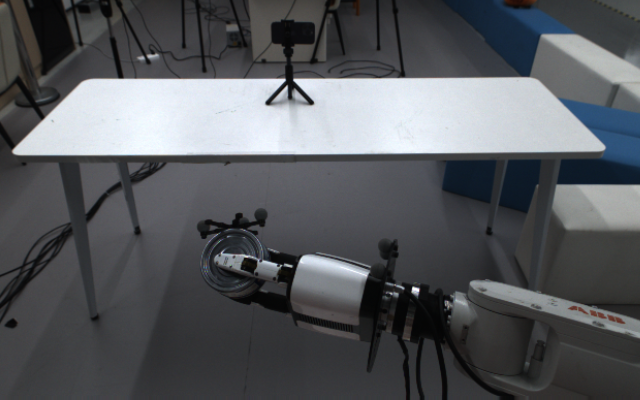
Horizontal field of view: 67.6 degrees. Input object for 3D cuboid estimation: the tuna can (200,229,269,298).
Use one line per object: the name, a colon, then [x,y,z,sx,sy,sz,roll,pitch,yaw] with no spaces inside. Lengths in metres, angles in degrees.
tuna can: [-0.104,0.086,0.615,0.085,0.034,0.085,-4,68,9]
